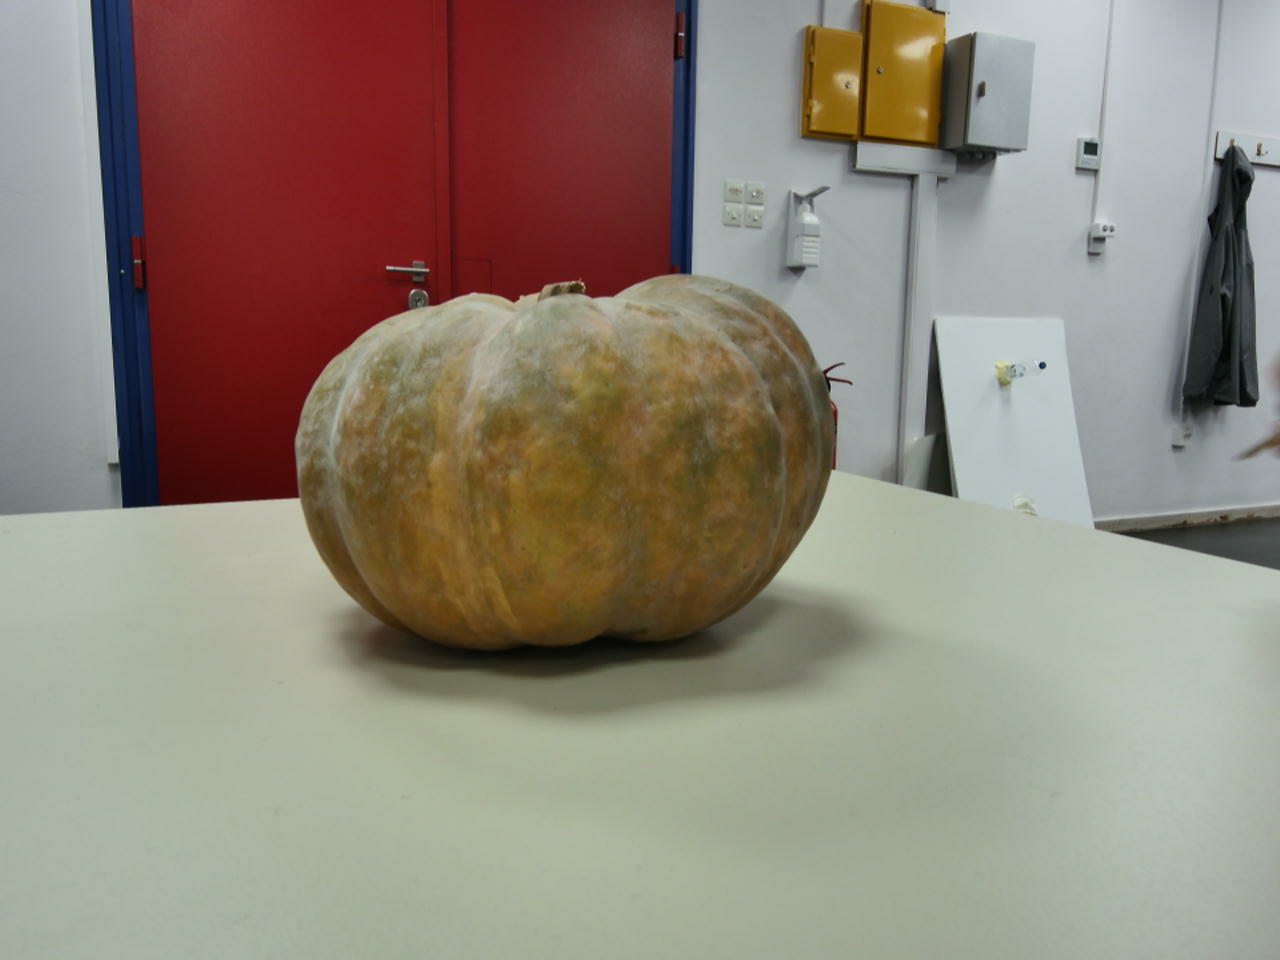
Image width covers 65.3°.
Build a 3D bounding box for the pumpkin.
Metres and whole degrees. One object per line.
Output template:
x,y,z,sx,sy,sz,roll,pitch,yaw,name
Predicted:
-0.036,-0.014,0.476,0.252,0.168,0.252,0,7,0,pumpkin
